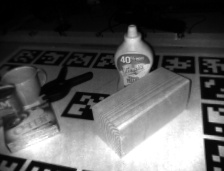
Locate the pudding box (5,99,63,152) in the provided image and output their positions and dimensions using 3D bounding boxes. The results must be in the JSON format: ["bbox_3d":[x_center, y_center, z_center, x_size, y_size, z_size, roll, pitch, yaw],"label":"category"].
[{"bbox_3d":[-0.182,0.090,0.505,0.114,0.039,0.089,-22,42,-19],"label":"pudding box"}]

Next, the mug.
[{"bbox_3d":[-0.237,0.004,0.619,0.092,0.082,0.118,20,48,30],"label":"mug"}]

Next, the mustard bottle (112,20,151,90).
[{"bbox_3d":[0.050,-0.067,0.536,0.096,0.193,0.058,-1,40,10],"label":"mustard bottle"}]

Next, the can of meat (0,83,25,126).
[{"bbox_3d":[-0.275,0.050,0.524,0.102,0.084,0.057,-17,41,-11],"label":"can of meat"}]

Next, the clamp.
[{"bbox_3d":[-0.148,-0.013,0.634,0.120,0.037,0.166,19,48,26],"label":"clamp"}]

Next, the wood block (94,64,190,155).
[{"bbox_3d":[0.073,0.043,0.486,0.208,0.091,0.088,-30,42,-28],"label":"wood block"}]
